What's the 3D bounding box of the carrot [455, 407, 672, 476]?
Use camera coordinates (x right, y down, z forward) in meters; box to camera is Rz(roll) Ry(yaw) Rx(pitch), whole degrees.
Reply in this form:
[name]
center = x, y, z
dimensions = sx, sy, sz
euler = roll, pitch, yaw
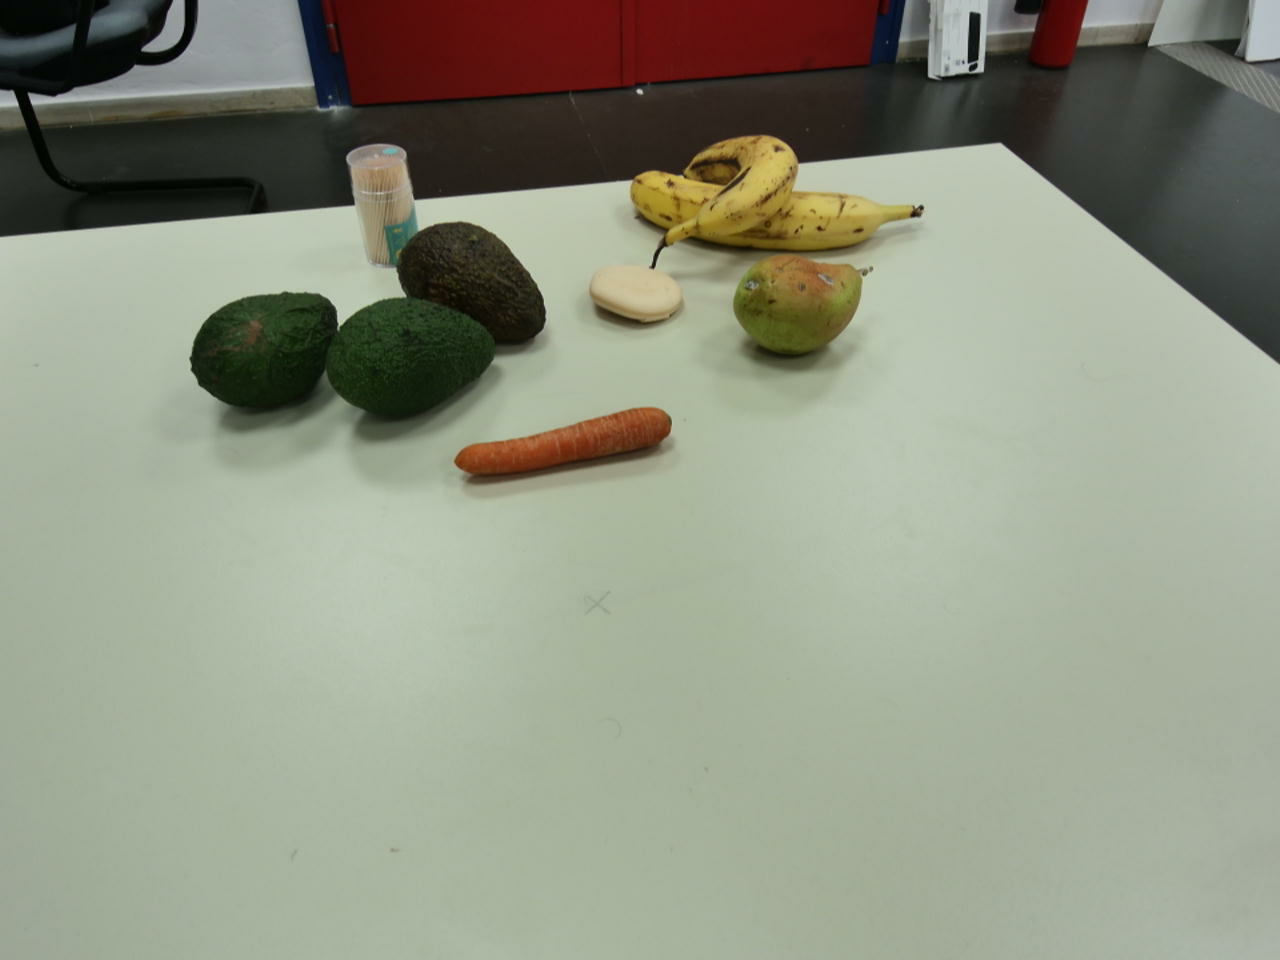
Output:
[carrot]
center = -0.040, -0.021, 0.551
dimensions = 0.122, 0.023, 0.024
euler = -10, 40, -12
